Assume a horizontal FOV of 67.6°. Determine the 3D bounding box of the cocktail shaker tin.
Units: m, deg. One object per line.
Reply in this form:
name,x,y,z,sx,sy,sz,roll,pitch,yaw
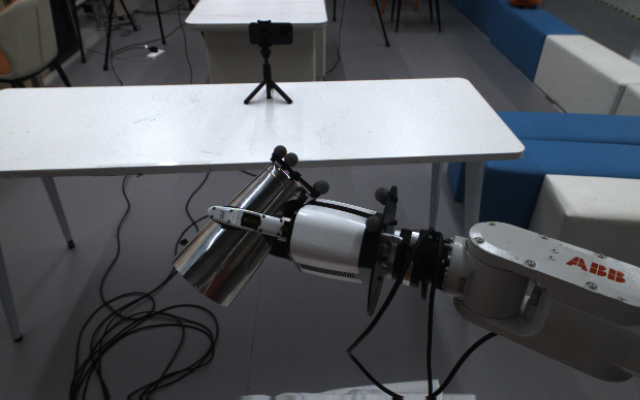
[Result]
cocktail shaker tin,-0.092,0.035,0.611,0.170,0.093,0.093,-48,49,-3
